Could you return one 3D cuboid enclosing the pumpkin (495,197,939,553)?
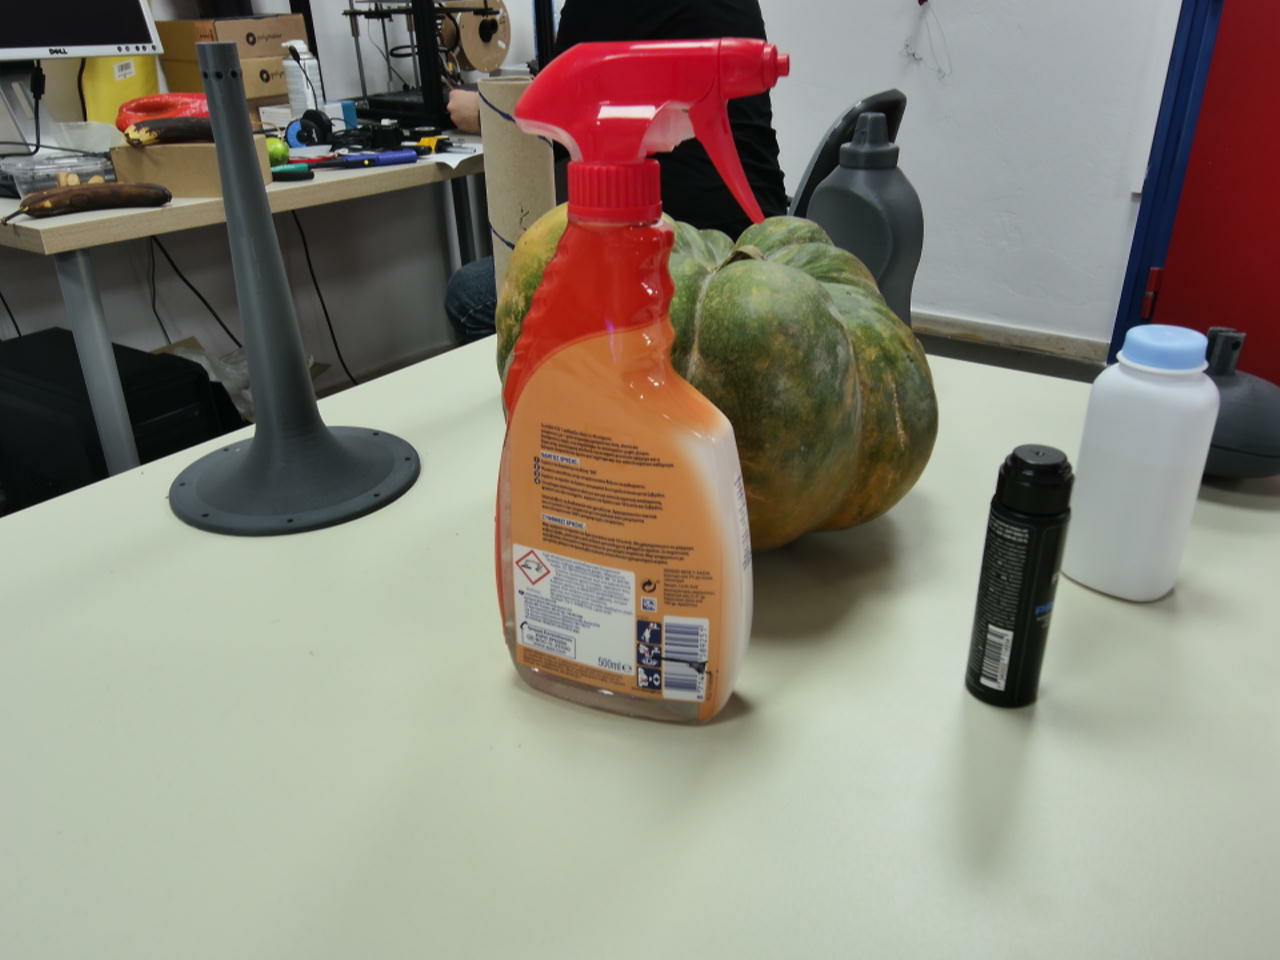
[{"bbox_3d":[0.041,-0.064,0.558,0.237,0.173,0.270,-6,25,-15],"label":"pumpkin"}]
